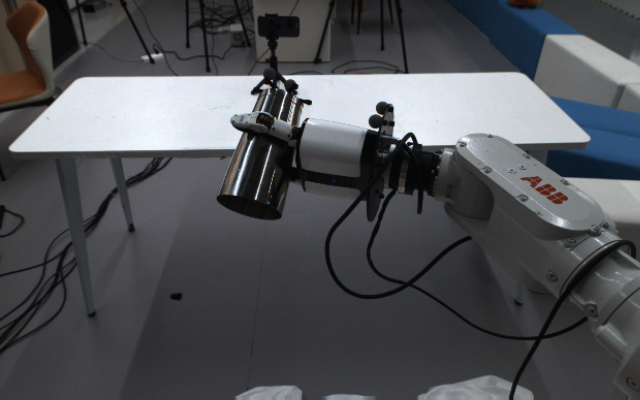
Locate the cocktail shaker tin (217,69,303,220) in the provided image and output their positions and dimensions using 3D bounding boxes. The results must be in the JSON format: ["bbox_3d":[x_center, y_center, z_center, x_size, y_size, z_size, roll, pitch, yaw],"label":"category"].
[{"bbox_3d":[-0.077,-0.066,0.680,0.093,0.093,0.170,10,72,12],"label":"cocktail shaker tin"}]
